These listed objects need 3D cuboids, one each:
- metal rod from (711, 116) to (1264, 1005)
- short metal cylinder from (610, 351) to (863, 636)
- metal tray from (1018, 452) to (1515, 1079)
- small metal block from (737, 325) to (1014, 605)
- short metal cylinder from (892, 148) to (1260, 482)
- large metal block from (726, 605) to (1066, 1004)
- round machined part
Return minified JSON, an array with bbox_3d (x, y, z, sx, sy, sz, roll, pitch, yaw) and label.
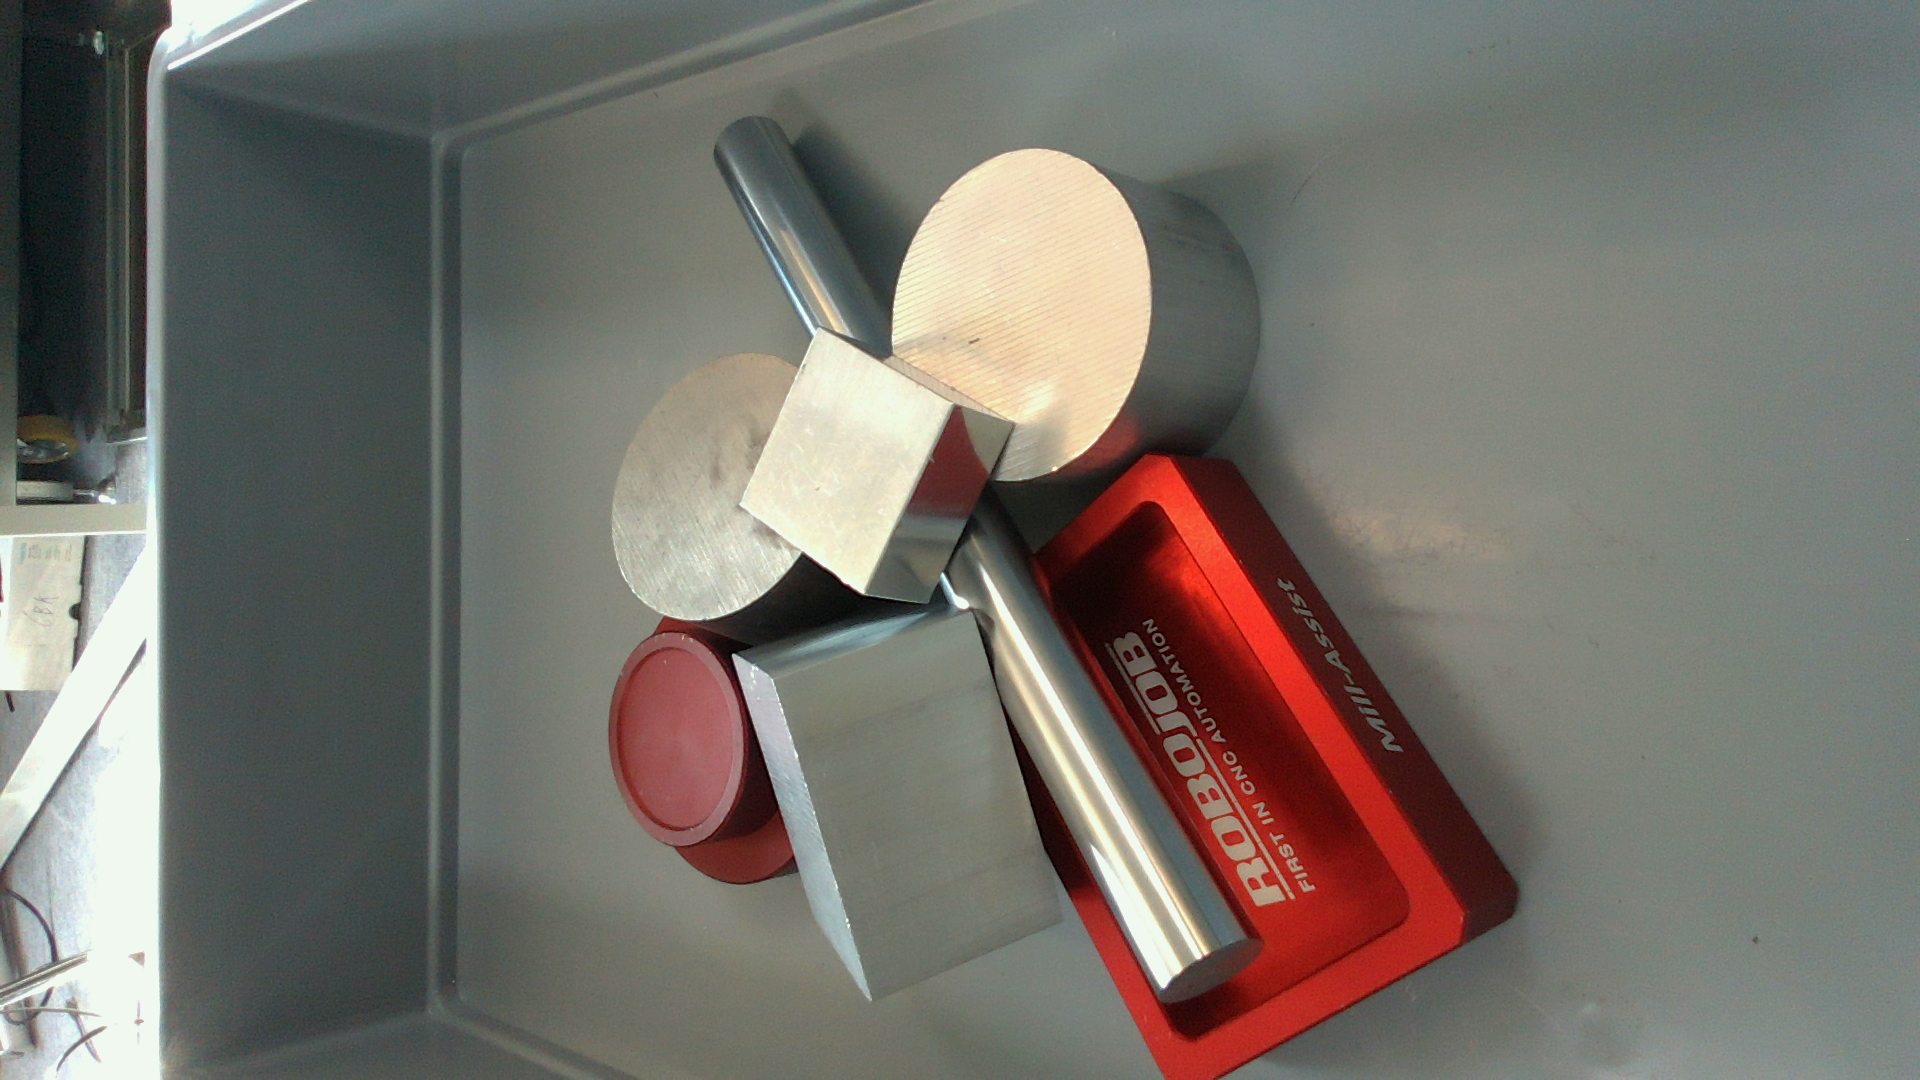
[{"bbox_3d":[-0.009,-0.019,0.368,0.025,0.025,0.299,-50,51,28],"label":"metal rod"},{"bbox_3d":[-0.057,-0.009,0.410,0.080,0.050,0.080,-11,68,29],"label":"short metal cylinder"},{"bbox_3d":[0.059,0.055,0.340,0.090,0.030,0.130,-44,64,31],"label":"metal tray"},{"bbox_3d":[-0.022,-0.019,0.342,0.050,0.025,0.050,33,102,36],"label":"small metal block"},{"bbox_3d":[0.029,-0.055,0.353,0.080,0.050,0.080,0,90,40],"label":"short metal cylinder"},{"bbox_3d":[-0.020,0.062,0.359,0.080,0.050,0.080,178,75,-73],"label":"large metal block"},{"bbox_3d":[-0.077,0.062,0.446,0.098,0.042,0.098,0,90,40],"label":"round machined part"}]
